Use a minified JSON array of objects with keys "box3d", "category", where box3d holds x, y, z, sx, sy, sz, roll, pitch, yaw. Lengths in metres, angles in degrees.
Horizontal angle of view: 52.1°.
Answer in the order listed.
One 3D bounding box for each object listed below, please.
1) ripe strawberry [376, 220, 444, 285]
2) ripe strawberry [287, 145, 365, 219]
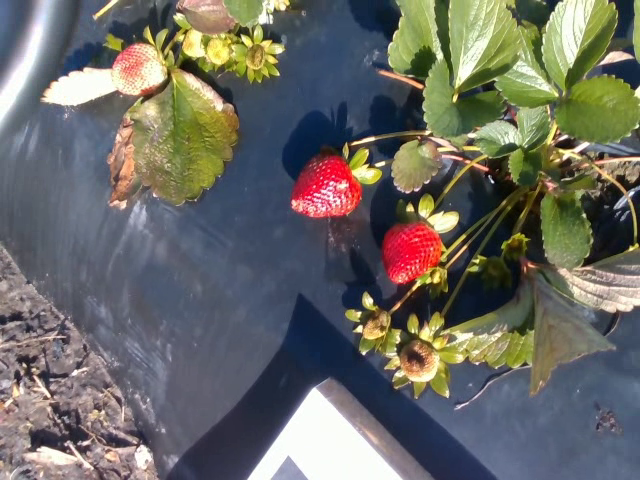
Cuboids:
[{"box3d":[0.051,0.010,0.388,0.042,0.039,0.049,-5,33,38],"category":"ripe strawberry"},{"box3d":[-0.003,-0.032,0.413,0.050,0.051,0.045,-26,-13,-32],"category":"ripe strawberry"}]
